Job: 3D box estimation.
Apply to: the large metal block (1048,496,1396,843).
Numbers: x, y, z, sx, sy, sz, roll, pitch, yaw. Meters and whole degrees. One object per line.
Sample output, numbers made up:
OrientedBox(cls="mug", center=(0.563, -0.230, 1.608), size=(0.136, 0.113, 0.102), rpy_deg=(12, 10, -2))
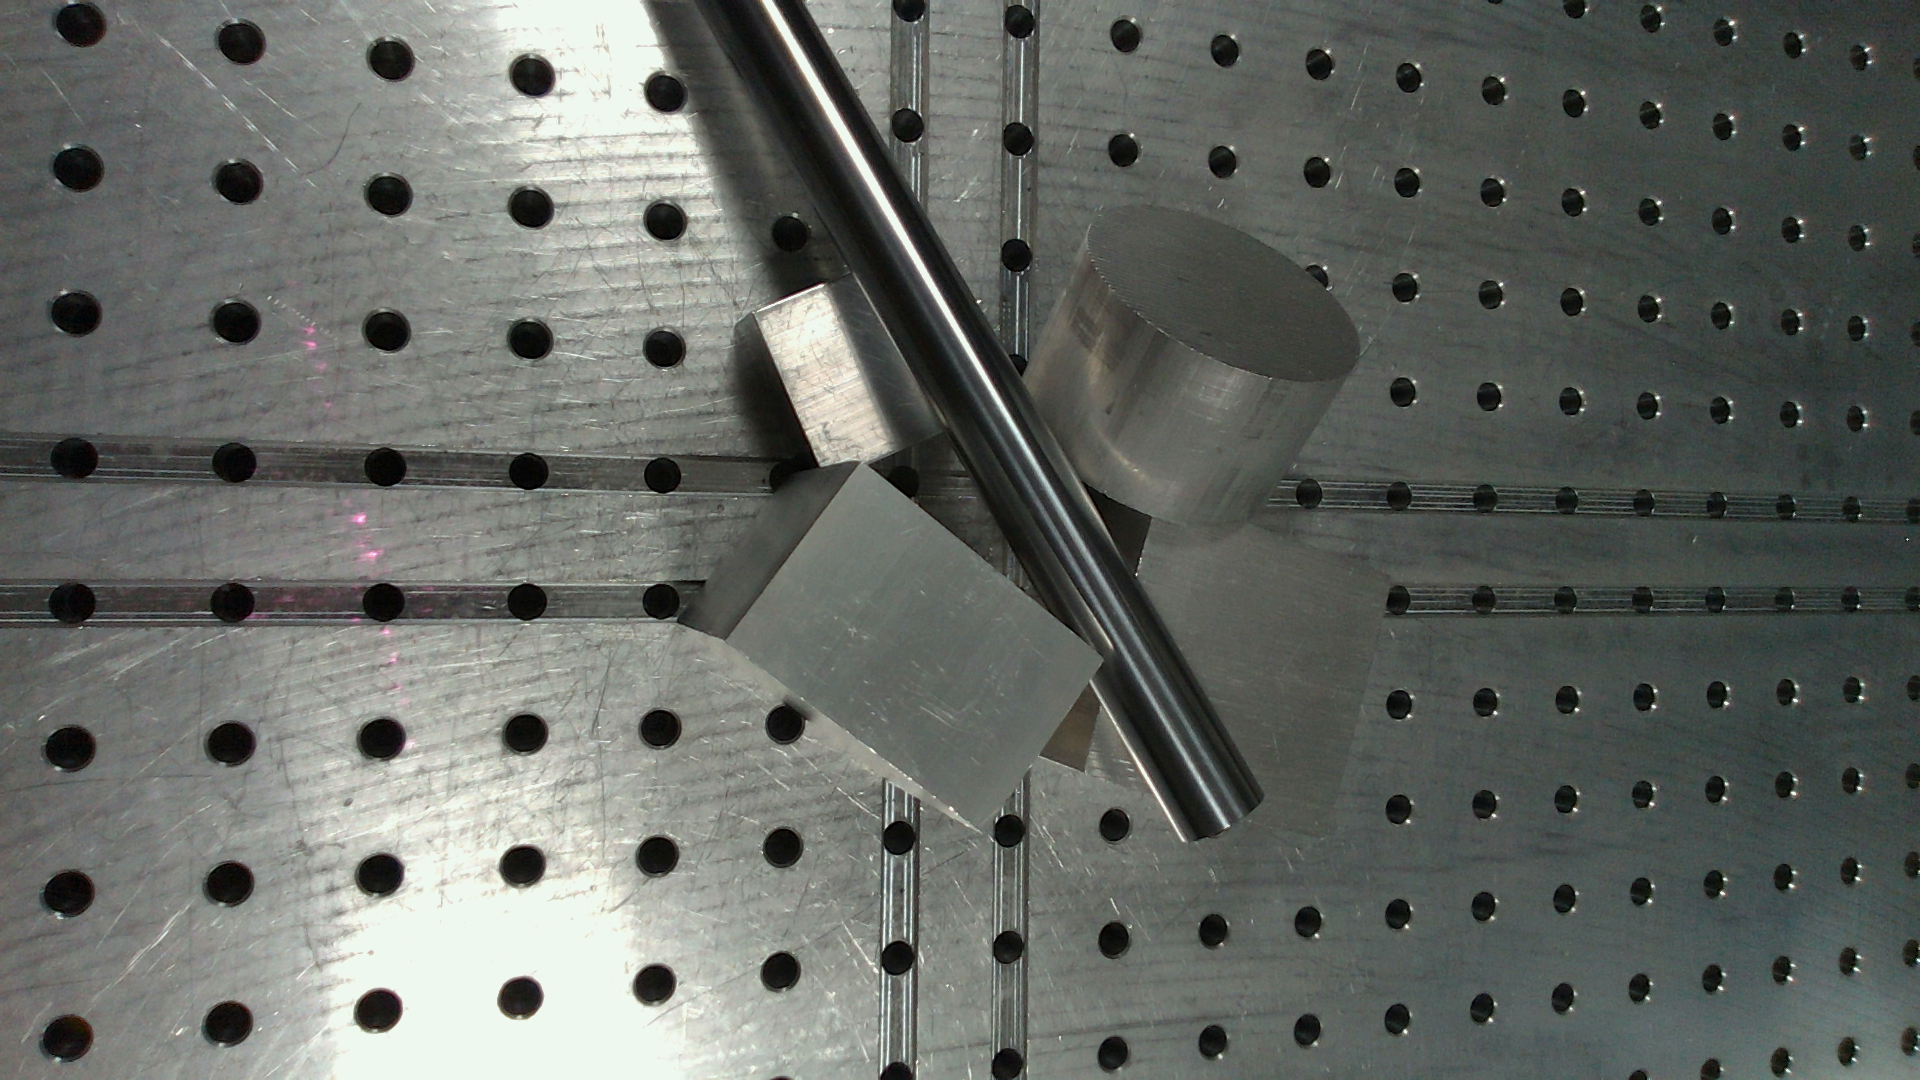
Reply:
OrientedBox(cls="large metal block", center=(0.072, 0.037, 0.408), size=(0.080, 0.050, 0.080), rpy_deg=(18, 84, -19))

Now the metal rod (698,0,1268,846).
OrientedBox(cls="metal rod", center=(-0.006, -0.057, 0.362), size=(0.025, 0.025, 0.300), rpy_deg=(-29, 88, -17))

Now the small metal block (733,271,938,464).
OrientedBox(cls="small metal block", center=(-0.029, -0.048, 0.386), size=(0.050, 0.025, 0.050), rpy_deg=(-26, 99, -18))

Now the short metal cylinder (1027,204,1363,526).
OrientedBox(cls="short metal cylinder", center=(0.063, -0.050, 0.383), size=(0.080, 0.080, 0.050), rpy_deg=(9, 131, -20))

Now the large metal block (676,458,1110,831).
OrientedBox(cls="large metal block", center=(-0.021, 0.025, 0.359), size=(0.080, 0.080, 0.050), rpy_deg=(39, 78, -16))
